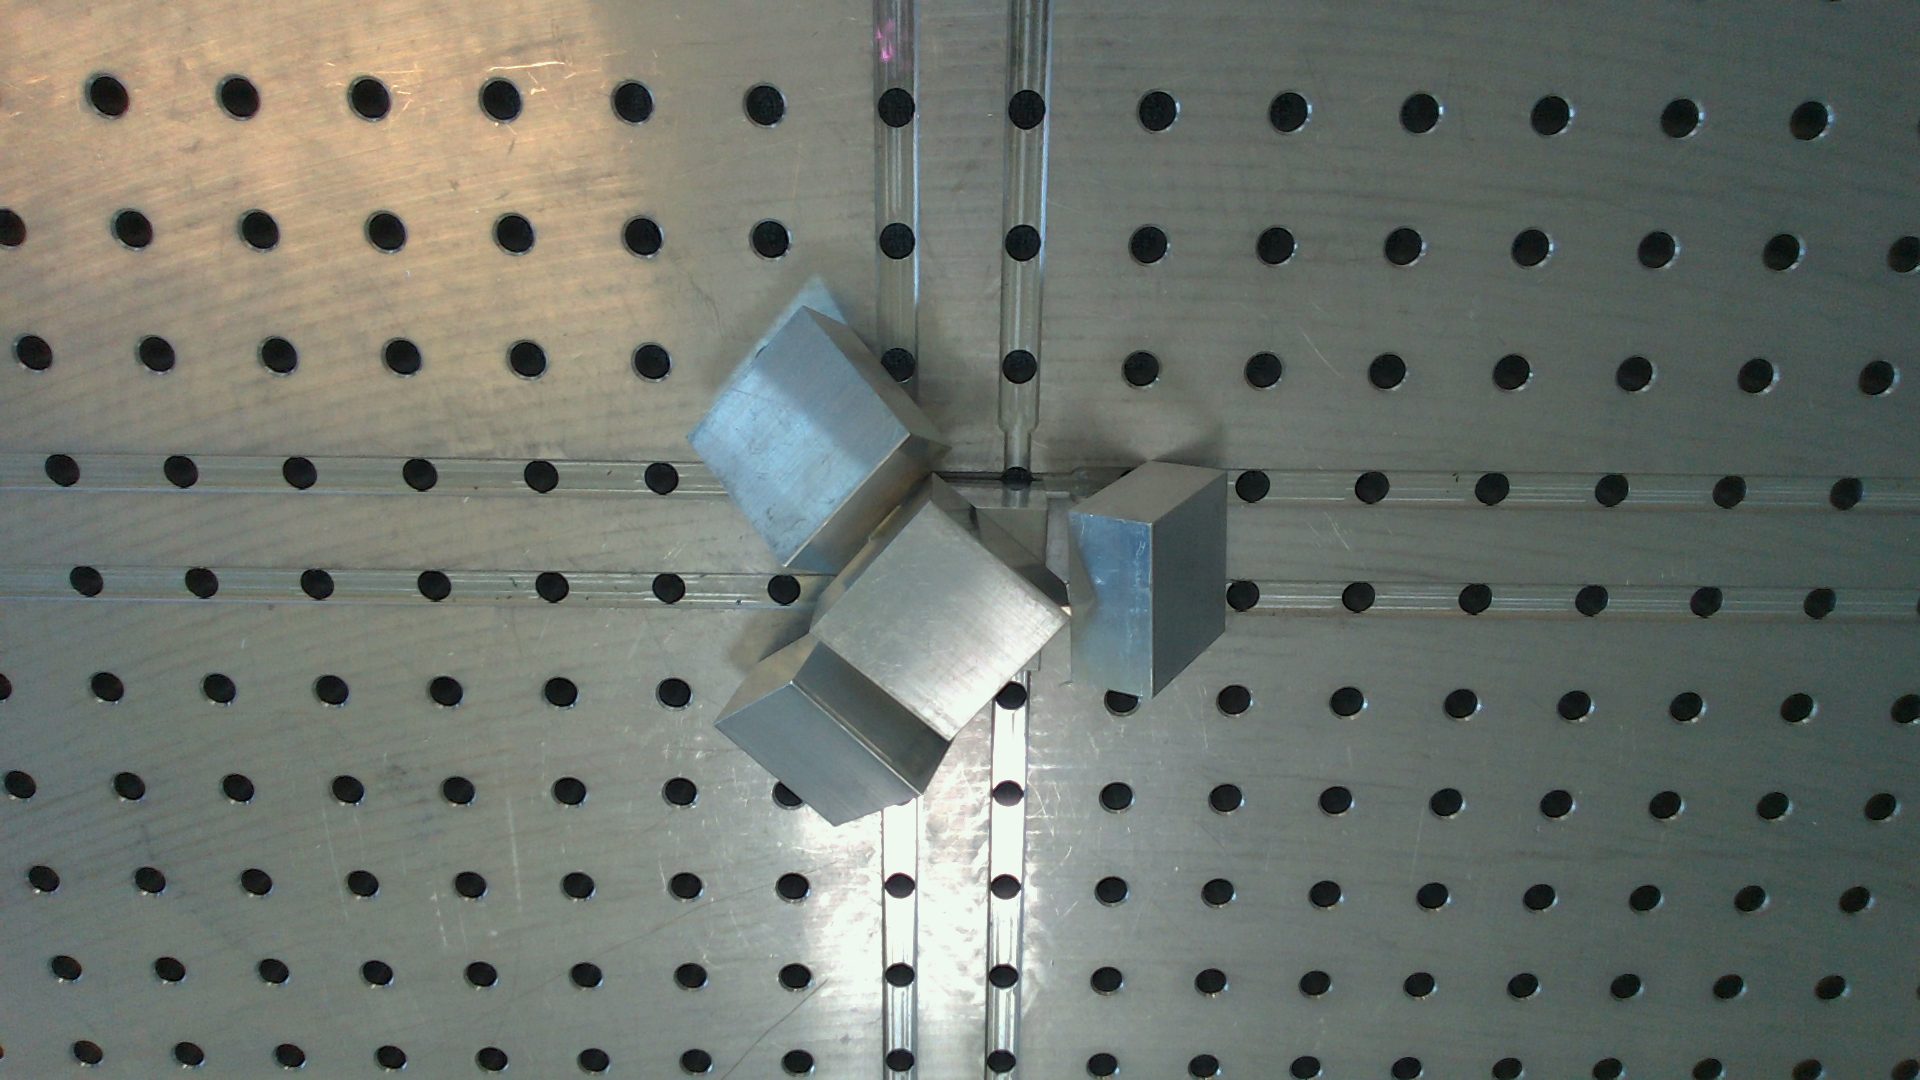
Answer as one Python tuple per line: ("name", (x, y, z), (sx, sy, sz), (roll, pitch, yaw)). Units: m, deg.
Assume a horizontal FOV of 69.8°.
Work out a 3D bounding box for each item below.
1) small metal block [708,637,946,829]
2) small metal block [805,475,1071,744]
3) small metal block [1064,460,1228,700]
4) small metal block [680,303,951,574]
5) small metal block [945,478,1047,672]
("small metal block", (-0.038, 0.055, 0.403), (0.050, 0.025, 0.050), (43, 142, -14))
("small metal block", (-0.006, 0.019, 0.376), (0.050, 0.025, 0.050), (39, 105, -14))
("small metal block", (0.053, 0.010, 0.384), (0.025, 0.050, 0.050), (10, 114, 31))
("small metal block", (-0.040, -0.027, 0.373), (0.050, 0.025, 0.050), (-45, 69, 15))
("small metal block", (-0.001, 0.010, 0.400), (0.050, 0.025, 0.050), (1, 113, -1))
